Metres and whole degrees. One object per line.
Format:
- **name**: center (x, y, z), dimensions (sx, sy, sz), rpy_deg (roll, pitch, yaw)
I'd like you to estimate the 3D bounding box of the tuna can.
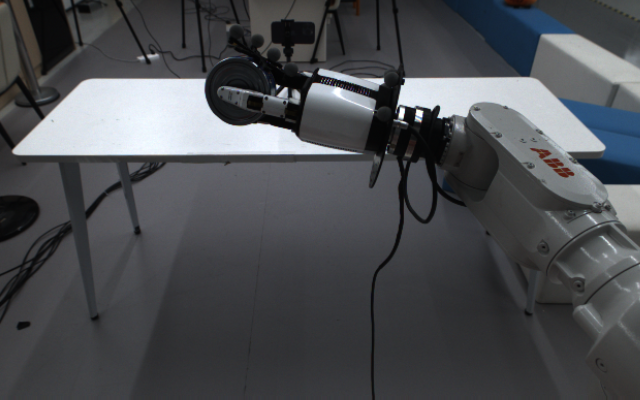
- **tuna can**: center (-0.097, -0.132, 0.609), dimensions (0.085, 0.085, 0.034), rpy_deg (6, 19, 6)
